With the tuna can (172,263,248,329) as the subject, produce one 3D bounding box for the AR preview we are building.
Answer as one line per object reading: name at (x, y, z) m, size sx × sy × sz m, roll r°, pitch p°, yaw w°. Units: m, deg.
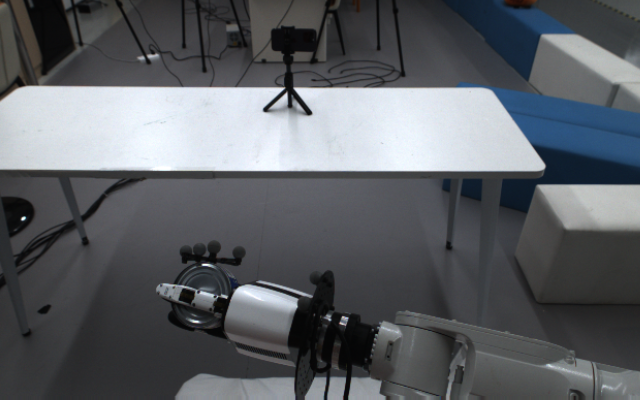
tuna can at (-0.149, 0.128, 0.640) m, size 0.085 × 0.034 × 0.085 m, roll -5°, pitch 72°, yaw 14°
